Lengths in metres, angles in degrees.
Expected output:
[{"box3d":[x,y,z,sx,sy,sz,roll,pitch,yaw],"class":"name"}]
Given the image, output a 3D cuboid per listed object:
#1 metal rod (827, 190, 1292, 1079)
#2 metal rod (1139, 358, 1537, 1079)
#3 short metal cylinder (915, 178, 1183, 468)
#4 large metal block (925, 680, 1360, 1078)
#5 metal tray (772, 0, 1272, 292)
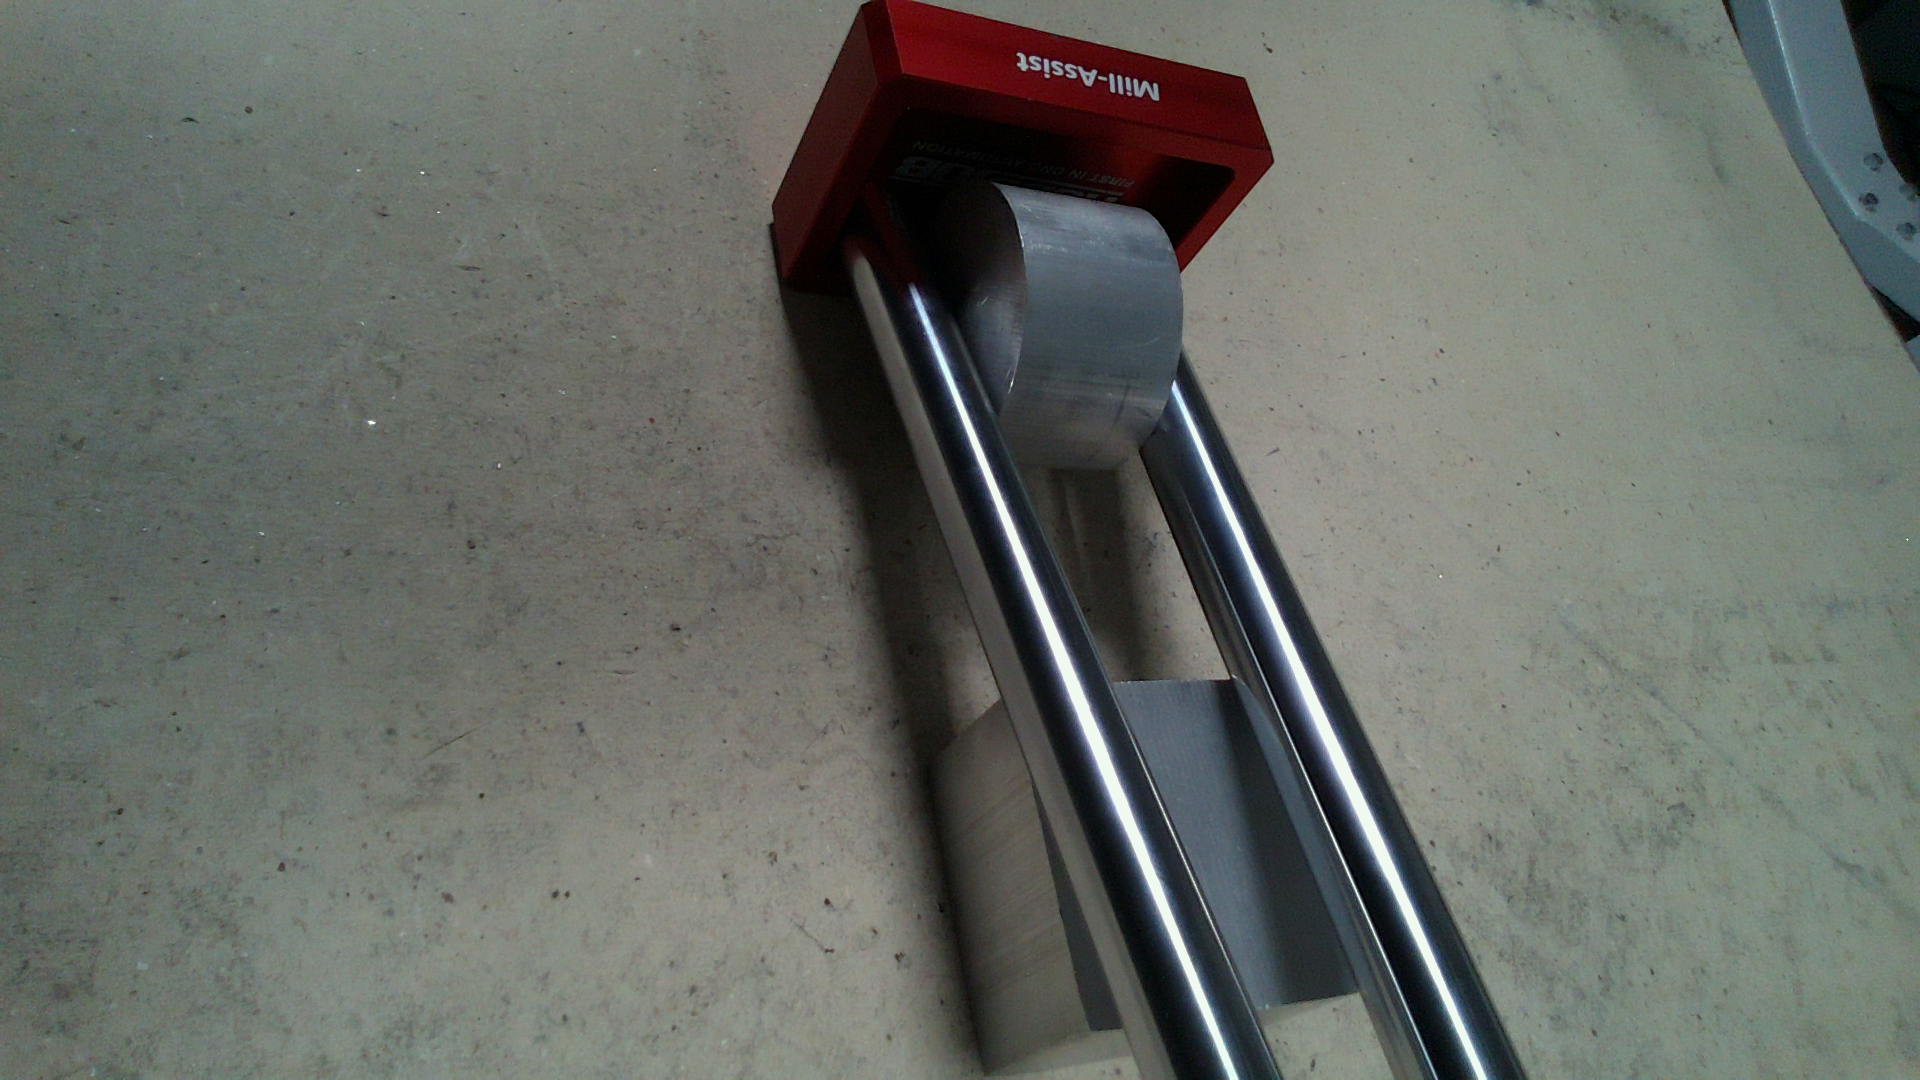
[{"box3d":[0.012,0.011,0.331,0.025,0.025,0.300,2,46,-27],"class":"metal rod"},{"box3d":[0.076,0.014,0.362,0.025,0.025,0.300,8,43,-24],"class":"metal rod"},{"box3d":[0.021,-0.062,0.404,0.050,0.080,0.080,2,61,-28],"class":"short metal cylinder"},{"box3d":[0.045,0.082,0.345,0.080,0.050,0.080,2,61,-27],"class":"large metal block"},{"box3d":[0.018,-0.110,0.424,0.130,0.090,0.030,2,60,-27],"class":"metal tray"}]
